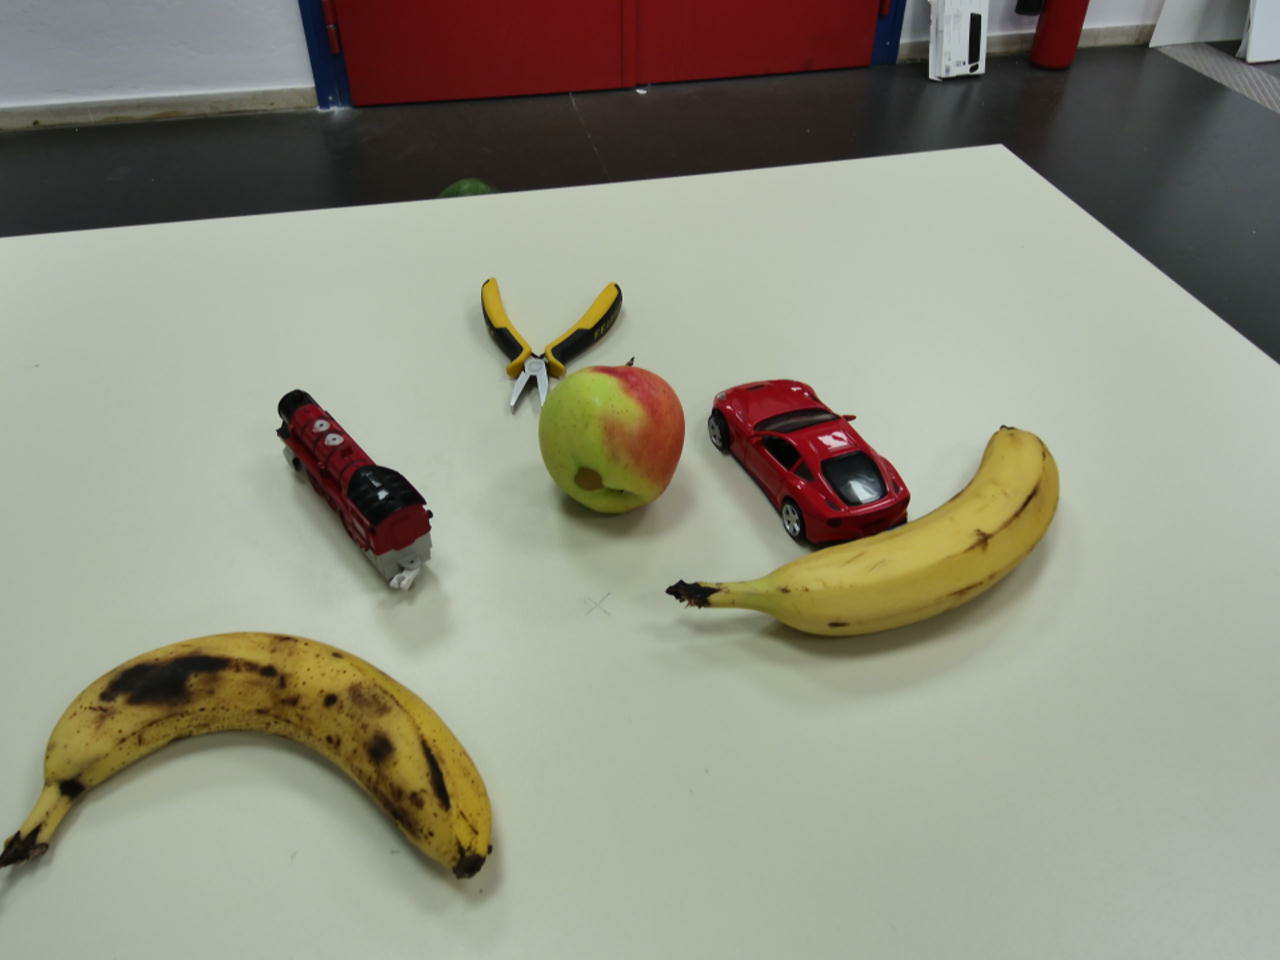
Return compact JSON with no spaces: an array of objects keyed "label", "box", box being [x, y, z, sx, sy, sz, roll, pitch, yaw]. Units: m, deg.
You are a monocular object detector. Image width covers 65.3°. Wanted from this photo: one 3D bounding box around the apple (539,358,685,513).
[{"label":"apple","box":[-0.013,-0.022,0.503,0.075,0.074,0.075,-21,44,-25]}]
